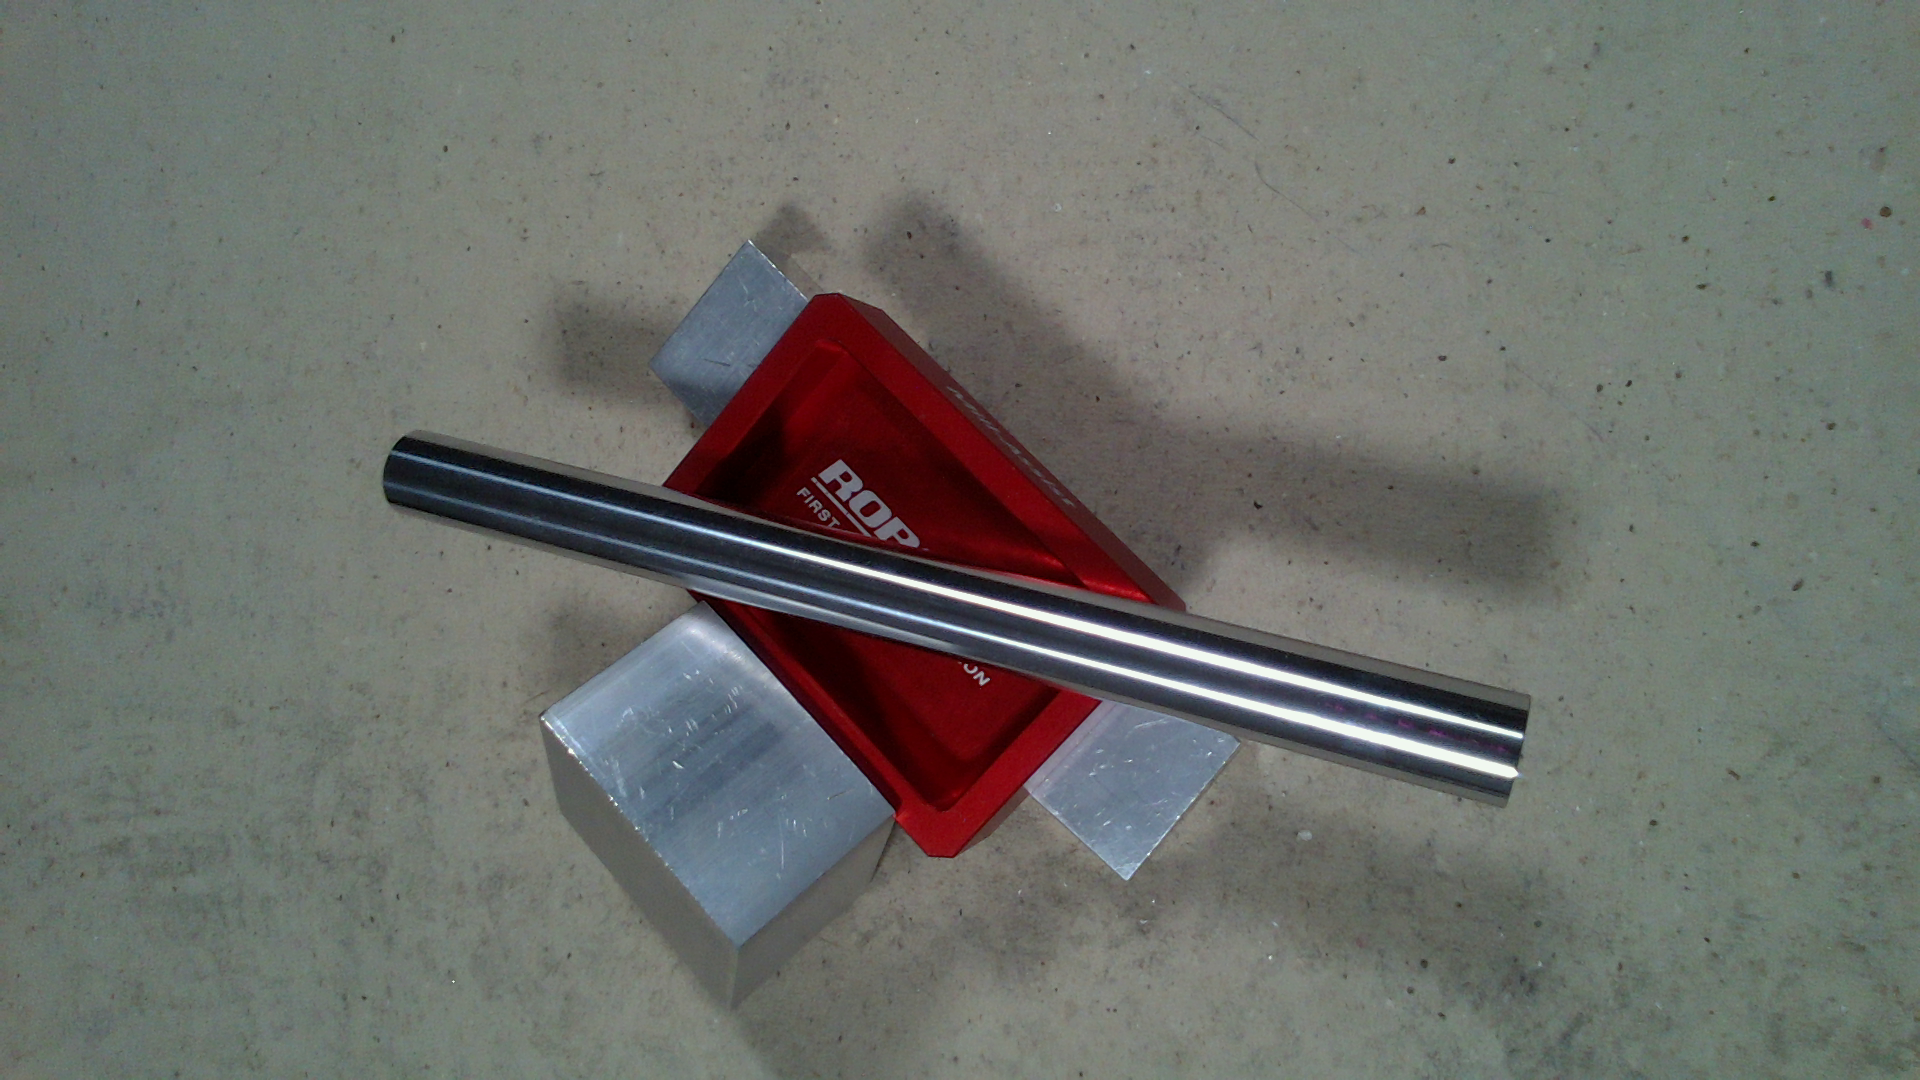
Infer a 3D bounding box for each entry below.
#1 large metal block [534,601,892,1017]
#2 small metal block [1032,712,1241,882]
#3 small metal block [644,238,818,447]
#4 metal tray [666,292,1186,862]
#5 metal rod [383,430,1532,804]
[{"bbox_3d":[-0.069,0.077,0.383,0.050,0.080,0.080,-38,74,-26],"label":"large metal block"},{"bbox_3d":[0.045,0.056,0.380,0.050,0.025,0.050,40,103,15],"label":"small metal block"},{"bbox_3d":[-0.058,-0.054,0.417,0.050,0.025,0.050,46,104,14],"label":"small metal block"},{"bbox_3d":[-0.016,0.009,0.371,0.130,0.030,0.090,45,104,14],"label":"metal tray"},{"bbox_3d":[-0.018,0.013,0.344,0.299,0.025,0.025,13,95,19],"label":"metal rod"}]
